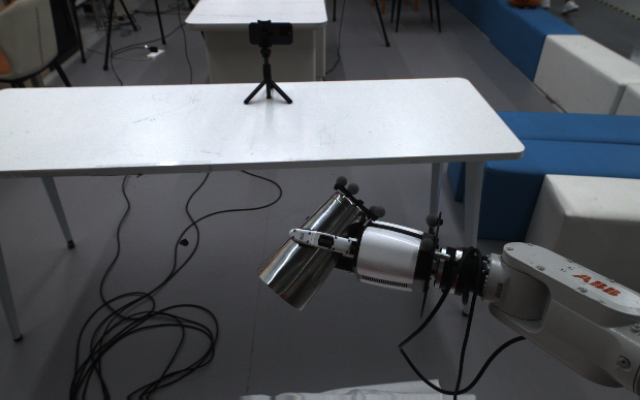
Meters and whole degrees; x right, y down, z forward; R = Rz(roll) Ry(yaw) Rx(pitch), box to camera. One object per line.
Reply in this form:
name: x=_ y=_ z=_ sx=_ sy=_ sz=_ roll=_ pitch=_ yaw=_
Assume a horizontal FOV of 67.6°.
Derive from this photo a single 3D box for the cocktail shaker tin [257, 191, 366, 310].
cocktail shaker tin: x=-0.005 y=0.068 z=0.735 sx=0.170 sy=0.093 sz=0.093 roll=-48 pitch=49 yaw=-3
